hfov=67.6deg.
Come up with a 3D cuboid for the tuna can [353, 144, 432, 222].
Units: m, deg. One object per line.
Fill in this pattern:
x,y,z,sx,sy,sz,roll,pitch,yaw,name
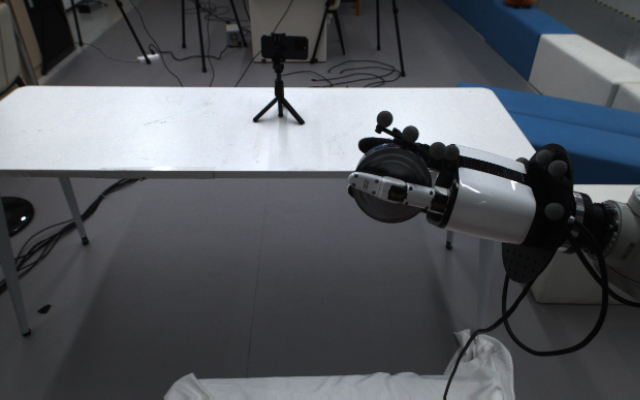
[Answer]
0.082,-0.021,0.540,0.085,0.085,0.034,7,17,7,tuna can
